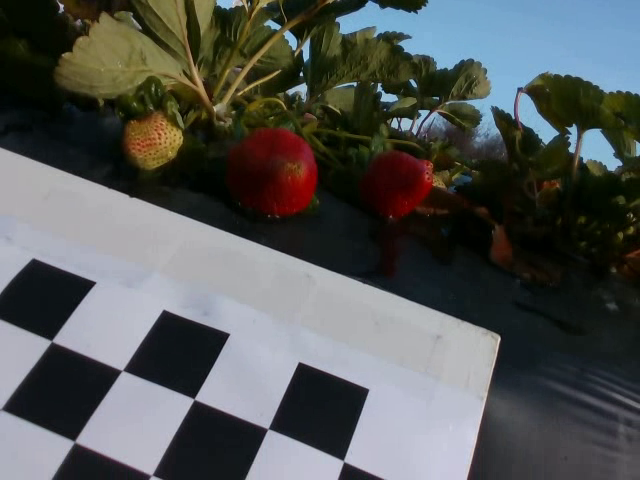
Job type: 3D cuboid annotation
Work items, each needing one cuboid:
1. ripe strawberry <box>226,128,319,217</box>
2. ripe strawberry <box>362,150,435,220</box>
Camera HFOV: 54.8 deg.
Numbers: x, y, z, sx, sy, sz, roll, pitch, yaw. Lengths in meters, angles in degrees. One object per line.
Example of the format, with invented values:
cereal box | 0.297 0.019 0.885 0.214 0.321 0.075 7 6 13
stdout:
ripe strawberry | -0.022 -0.037 0.295 0.050 0.050 0.065 -14 2 -14
ripe strawberry | 0.045 -0.032 0.349 0.044 0.042 0.055 -35 14 -26
